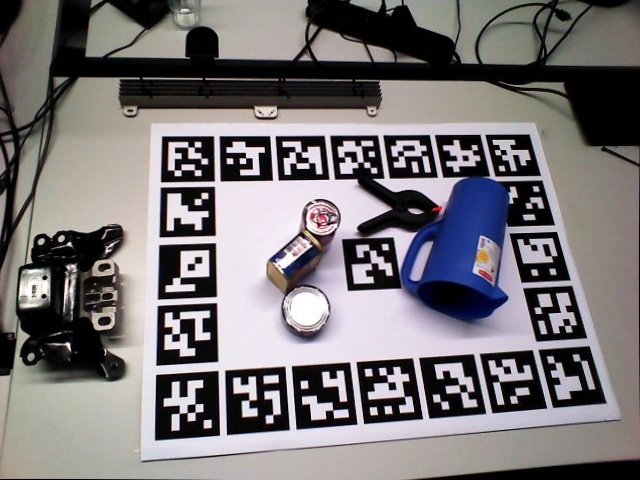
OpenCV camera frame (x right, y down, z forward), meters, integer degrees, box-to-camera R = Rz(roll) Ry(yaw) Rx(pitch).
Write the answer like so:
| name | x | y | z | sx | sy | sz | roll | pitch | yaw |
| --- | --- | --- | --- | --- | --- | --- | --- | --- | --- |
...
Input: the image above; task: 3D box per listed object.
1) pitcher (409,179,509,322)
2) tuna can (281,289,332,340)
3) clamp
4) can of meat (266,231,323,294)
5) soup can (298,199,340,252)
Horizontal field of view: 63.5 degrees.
| name | x | y | z | sx | sy | sz | roll | pitch | yaw |
| --- | --- | --- | --- | --- | --- | --- | --- | --- | --- |
| pitcher | 0.269 | 0.012 | 0.927 | 0.190 | 0.133 | 0.241 | 9 | 58 | 20 |
| tuna can | -0.024 | 0.130 | 0.899 | 0.086 | 0.034 | 0.085 | 2 | 70 | -7 |
| clamp | 0.141 | -0.065 | 1.007 | 0.165 | 0.037 | 0.121 | 1 | 64 | -11 |
| can of meat | -0.045 | 0.042 | 0.891 | 0.083 | 0.102 | 0.058 | -38 | 79 | -16 |
| soup can | -0.005 | -0.021 | 0.927 | 0.068 | 0.102 | 0.067 | 1 | 70 | -4 |
